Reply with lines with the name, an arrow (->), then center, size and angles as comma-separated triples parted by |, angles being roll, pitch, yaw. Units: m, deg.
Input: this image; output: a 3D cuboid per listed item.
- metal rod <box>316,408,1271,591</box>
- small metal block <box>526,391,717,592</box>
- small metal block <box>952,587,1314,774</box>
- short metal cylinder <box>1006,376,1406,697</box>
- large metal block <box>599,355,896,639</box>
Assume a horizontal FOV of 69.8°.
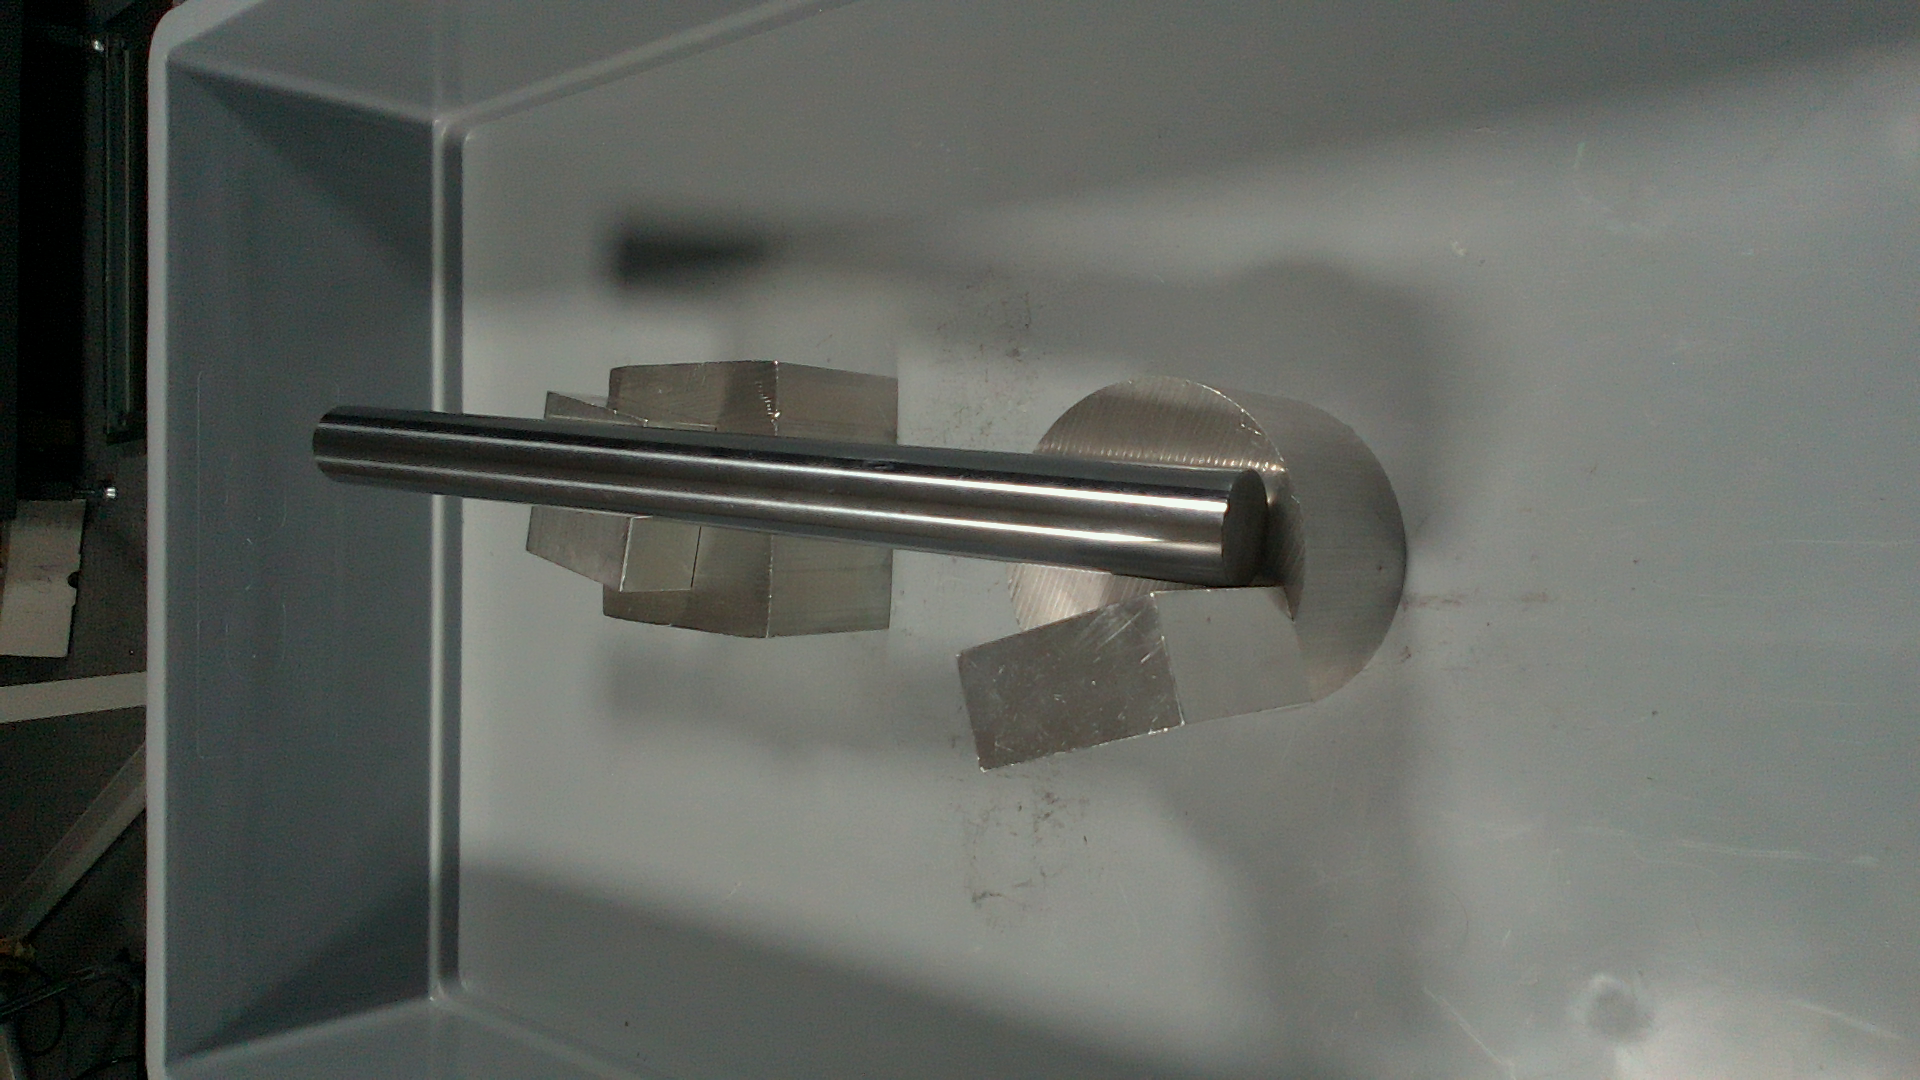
metal rod -> -0.067, -0.015, 0.358 | 0.299, 0.025, 0.025 | 6, 94, 32
small metal block -> -0.103, -0.015, 0.414 | 0.050, 0.025, 0.050 | 17, 100, 39
small metal block -> 0.035, 0.028, 0.280 | 0.050, 0.050, 0.025 | -19, 78, 39
short metal cylinder -> 0.058, 0.003, 0.328 | 0.080, 0.050, 0.080 | 0, 90, 40
large metal block -> -0.068, -0.014, 0.432 | 0.080, 0.050, 0.080 | 3, 92, 40
